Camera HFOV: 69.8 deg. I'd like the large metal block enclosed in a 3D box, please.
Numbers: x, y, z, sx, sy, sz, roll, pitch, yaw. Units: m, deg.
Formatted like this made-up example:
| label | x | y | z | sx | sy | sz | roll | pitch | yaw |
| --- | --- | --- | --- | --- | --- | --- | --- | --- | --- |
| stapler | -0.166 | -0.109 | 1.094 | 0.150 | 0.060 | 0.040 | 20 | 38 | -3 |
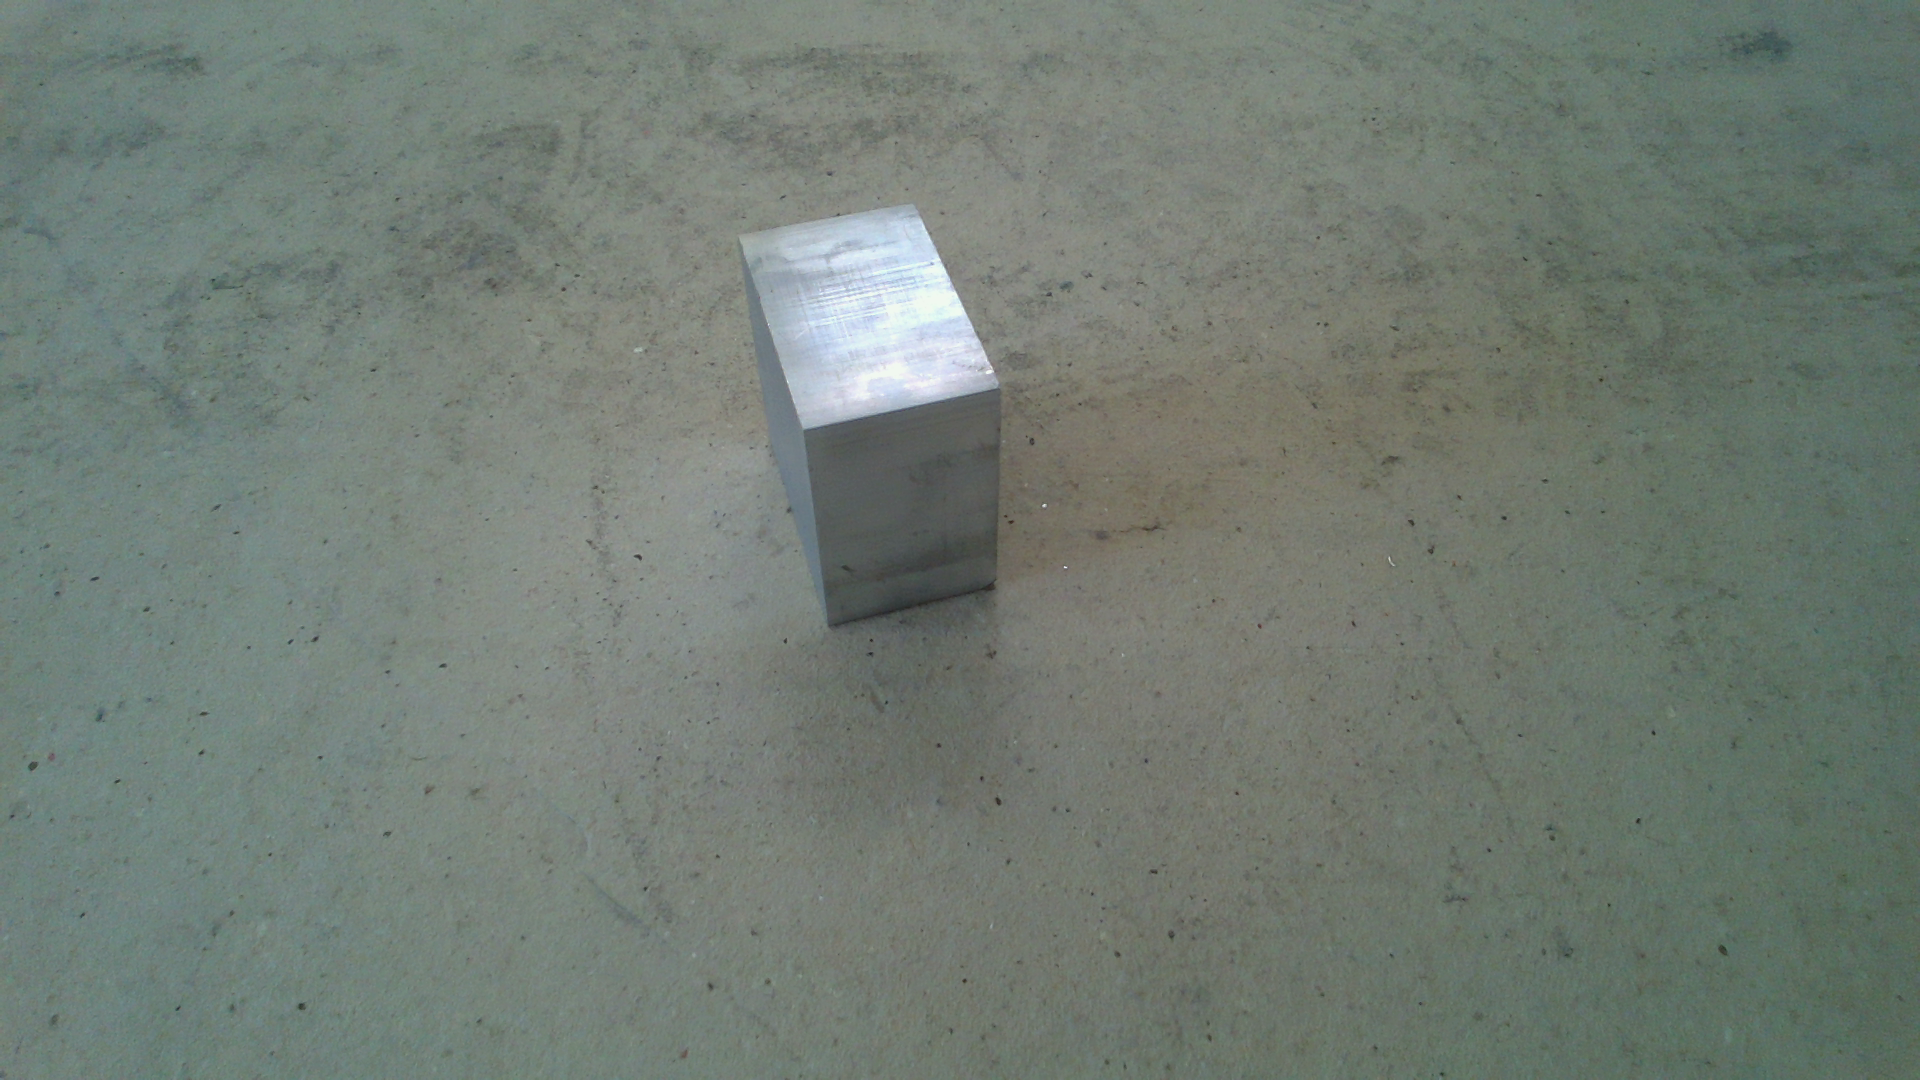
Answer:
| label | x | y | z | sx | sy | sz | roll | pitch | yaw |
| --- | --- | --- | --- | --- | --- | --- | --- | --- | --- |
| large metal block | -0.026 | -0.035 | 0.385 | 0.050 | 0.080 | 0.080 | -13 | 51 | -11 |
